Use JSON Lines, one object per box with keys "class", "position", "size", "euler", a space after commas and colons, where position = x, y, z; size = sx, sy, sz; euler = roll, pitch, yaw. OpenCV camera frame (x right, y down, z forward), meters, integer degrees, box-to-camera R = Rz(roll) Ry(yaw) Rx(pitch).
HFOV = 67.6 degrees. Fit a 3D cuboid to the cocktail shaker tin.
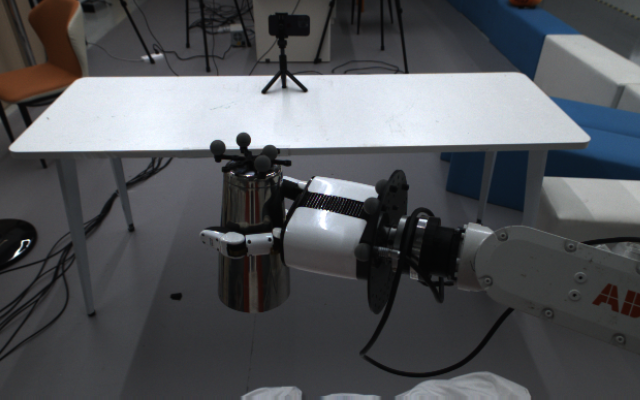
{"class": "cocktail shaker tin", "position": [-0.078, 0.039, 0.582], "size": [0.093, 0.170, 0.093], "euler": [2, 25, -1]}
